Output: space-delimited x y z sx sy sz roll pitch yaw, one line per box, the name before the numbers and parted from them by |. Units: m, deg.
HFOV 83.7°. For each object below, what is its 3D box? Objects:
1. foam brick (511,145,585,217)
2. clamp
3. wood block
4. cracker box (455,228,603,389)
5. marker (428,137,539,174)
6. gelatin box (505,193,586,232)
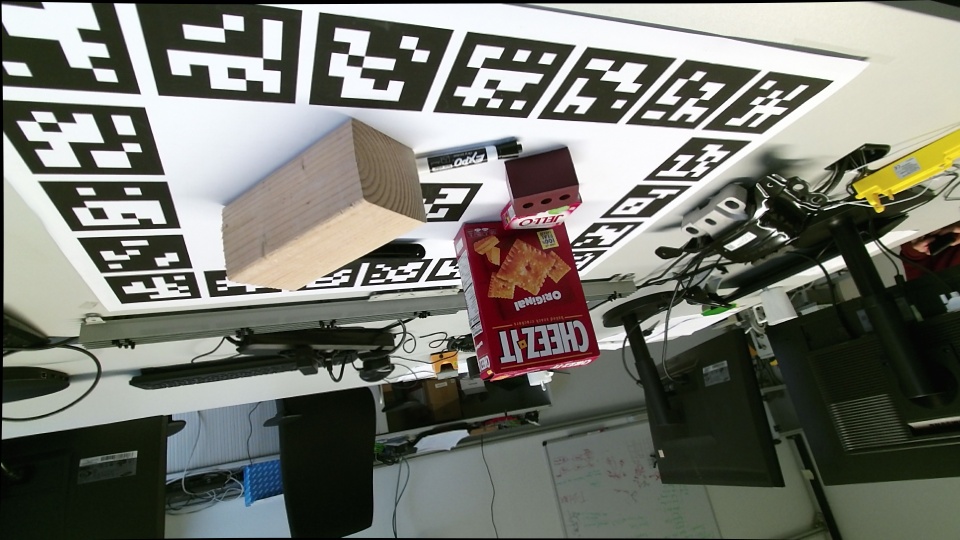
foam brick | 0.081 -0.105 0.639 0.078 0.051 0.053 -15 156 -1
clamp | -0.178 -0.014 0.711 0.203 0.036 0.166 -17 157 5
wood block | -0.158 -0.057 0.562 0.207 0.090 0.090 -24 159 28
cracker box | 0.066 0.049 0.770 0.165 0.212 0.072 -5 157 -19
marker | 0.005 -0.125 0.583 0.121 0.019 0.020 -13 156 -5
gelatin box | 0.088 -0.084 0.728 0.090 0.030 0.073 -5 154 -23
